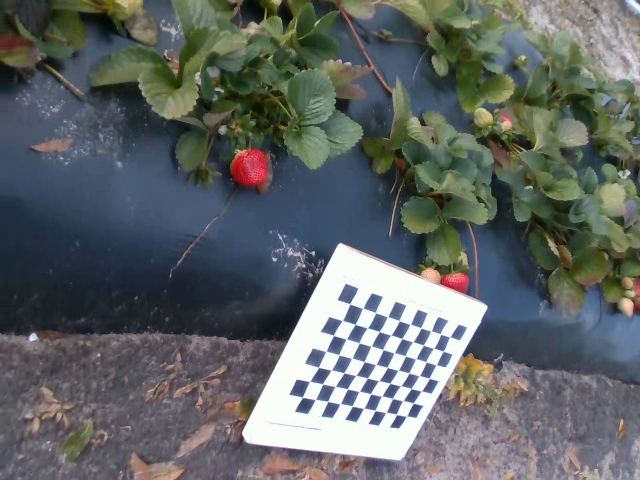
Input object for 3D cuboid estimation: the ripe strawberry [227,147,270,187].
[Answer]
[{"bbox_3d":[-0.085,-0.086,0.726,0.050,0.049,0.053,12,33,-38],"label":"ripe strawberry"}]
